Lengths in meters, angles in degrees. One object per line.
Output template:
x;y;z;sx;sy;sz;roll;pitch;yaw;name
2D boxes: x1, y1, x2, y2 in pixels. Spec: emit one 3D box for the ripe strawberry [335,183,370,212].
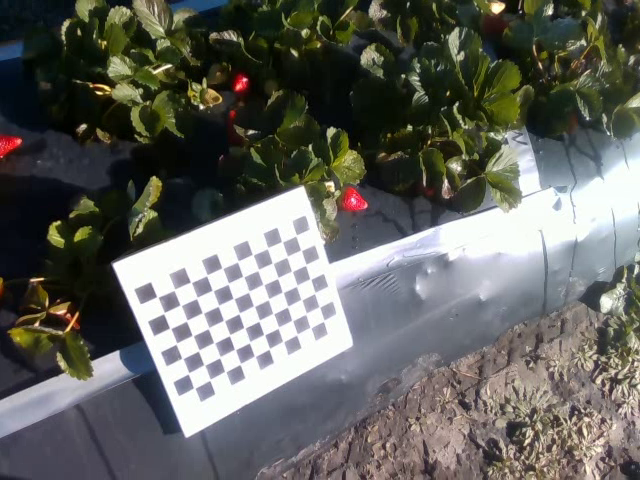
0.055;-0.062;0.994;0.054;0.048;0.029;24;-3;-26;ripe strawberry
